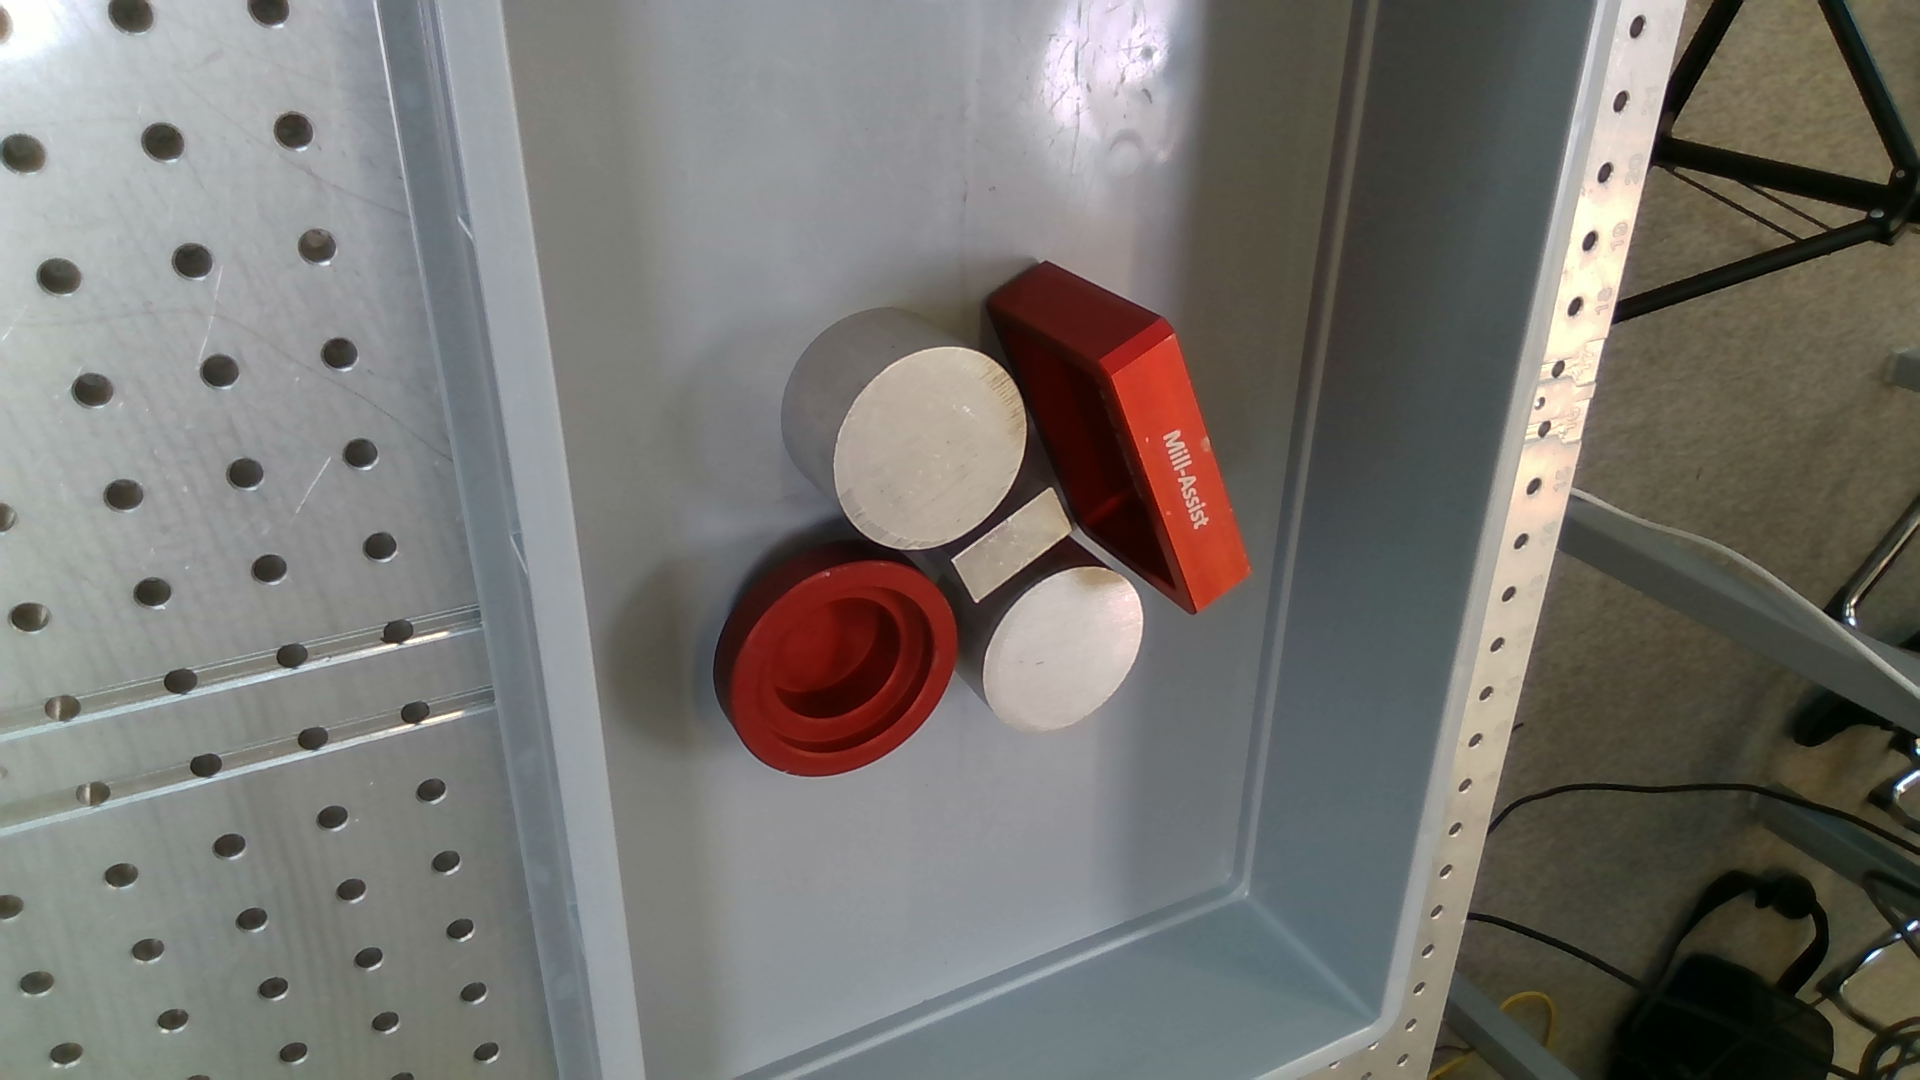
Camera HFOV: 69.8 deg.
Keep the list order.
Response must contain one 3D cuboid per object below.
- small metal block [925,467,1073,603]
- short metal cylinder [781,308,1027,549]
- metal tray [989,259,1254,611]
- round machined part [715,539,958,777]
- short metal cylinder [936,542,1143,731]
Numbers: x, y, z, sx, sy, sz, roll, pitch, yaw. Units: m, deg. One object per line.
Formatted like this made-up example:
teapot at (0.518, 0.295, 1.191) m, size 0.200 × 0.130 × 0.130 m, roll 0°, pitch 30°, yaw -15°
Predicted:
small metal block at (0.009, -0.008, 0.564) m, size 0.050 × 0.050 × 0.025 m, roll -36°, pitch 128°, yaw -10°
short metal cylinder at (-0.022, -0.043, 0.527) m, size 0.080 × 0.050 × 0.080 m, roll -14°, pitch 122°, yaw -25°
metal tray at (0.065, -0.041, 0.555) m, size 0.030 × 0.090 × 0.130 m, roll -35°, pitch 127°, yaw -11°
round machined part at (-0.054, 0.044, 0.559) m, size 0.098 × 0.042 × 0.098 m, roll -14°, pitch 122°, yaw -25°
short metal cylinder at (0.033, 0.036, 0.603) m, size 0.080 × 0.050 × 0.080 m, roll -14°, pitch 122°, yaw -25°
